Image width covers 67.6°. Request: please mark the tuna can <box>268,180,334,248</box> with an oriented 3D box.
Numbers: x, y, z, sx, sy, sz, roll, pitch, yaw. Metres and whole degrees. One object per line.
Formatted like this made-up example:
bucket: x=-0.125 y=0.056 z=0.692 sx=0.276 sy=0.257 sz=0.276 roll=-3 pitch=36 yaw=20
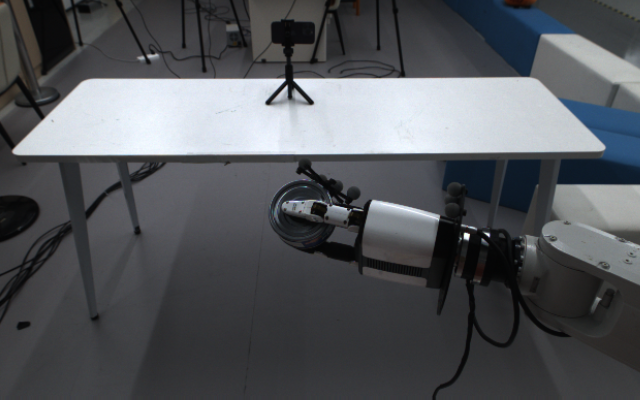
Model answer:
tuna can: x=-0.018 y=0.023 z=0.620 sx=0.085 sy=0.034 sz=0.085 roll=-4 pitch=69 yaw=10
